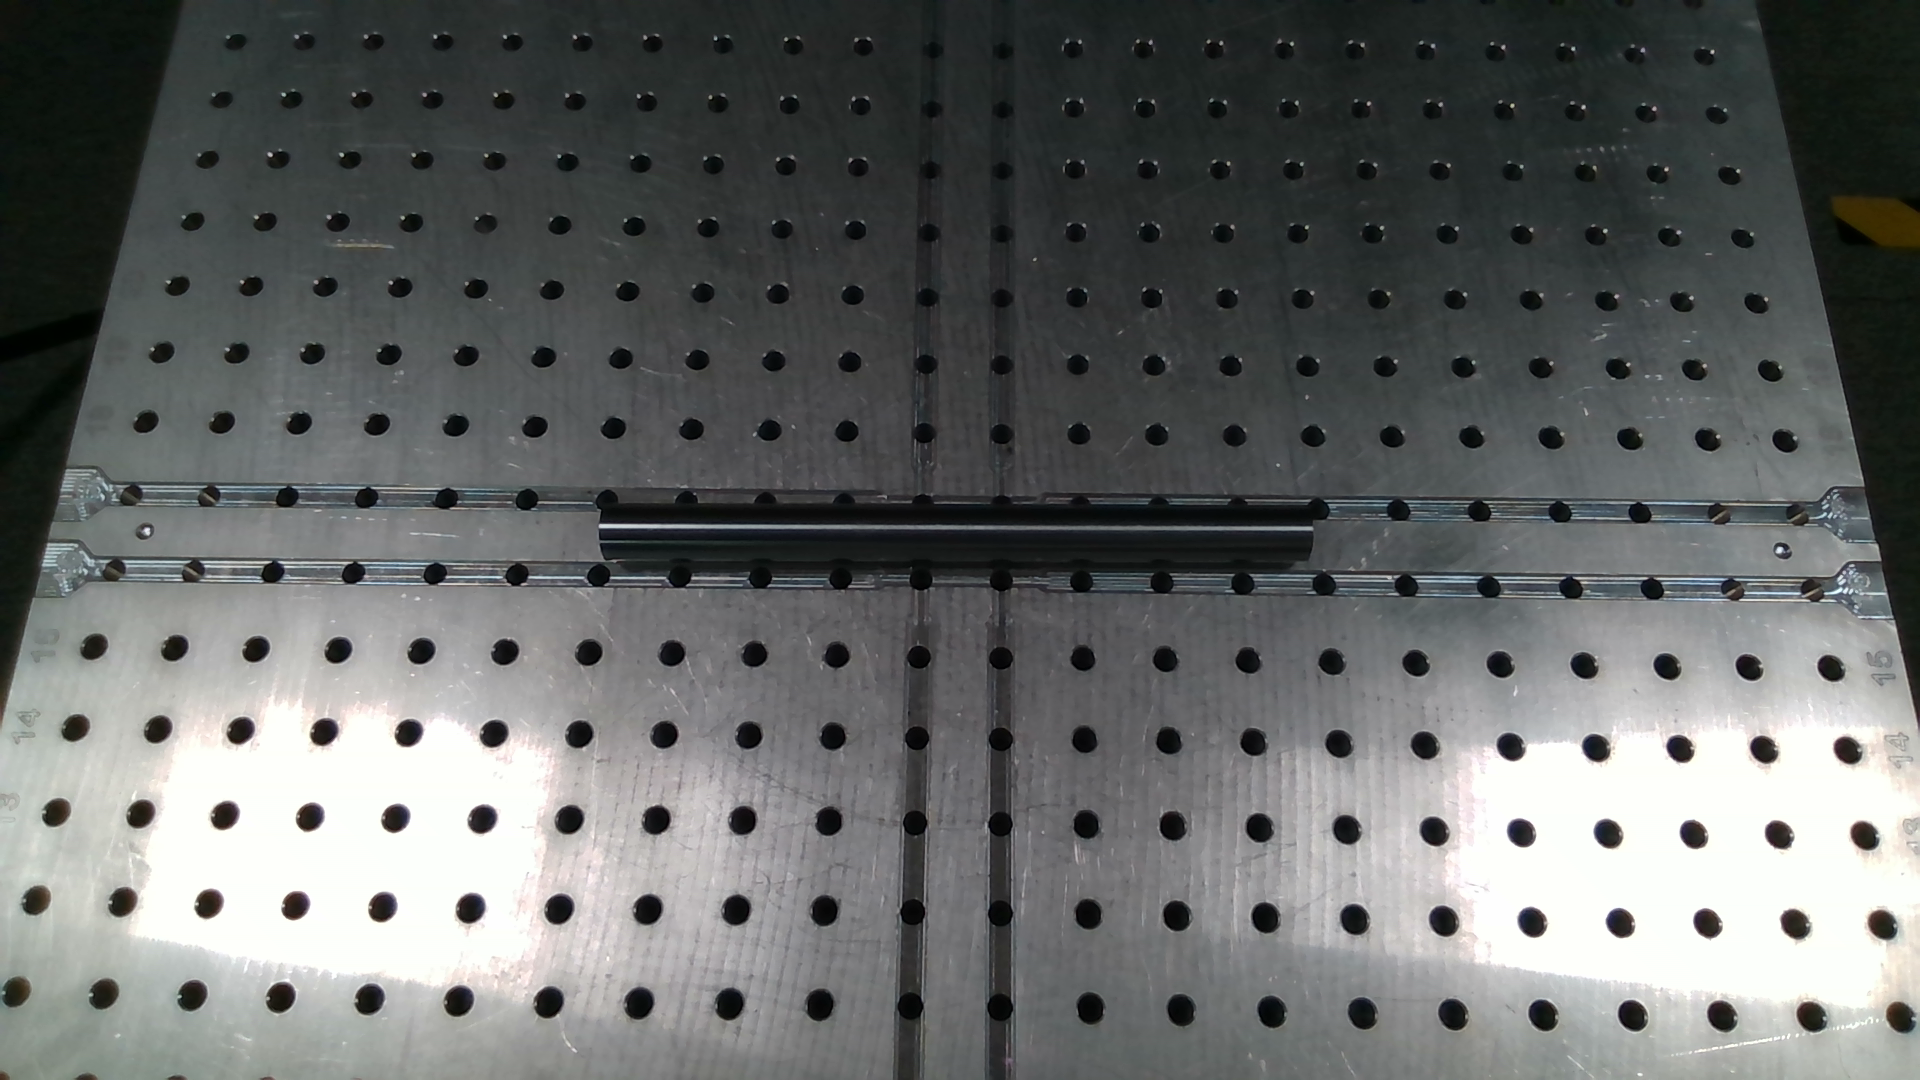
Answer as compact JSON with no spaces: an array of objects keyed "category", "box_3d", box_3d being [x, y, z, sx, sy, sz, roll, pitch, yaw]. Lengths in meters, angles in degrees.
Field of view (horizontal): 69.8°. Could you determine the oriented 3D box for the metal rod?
[{"category":"metal rod","box_3d":[-0.002,-0.003,0.592,0.300,0.025,0.025,0,70,0]}]
